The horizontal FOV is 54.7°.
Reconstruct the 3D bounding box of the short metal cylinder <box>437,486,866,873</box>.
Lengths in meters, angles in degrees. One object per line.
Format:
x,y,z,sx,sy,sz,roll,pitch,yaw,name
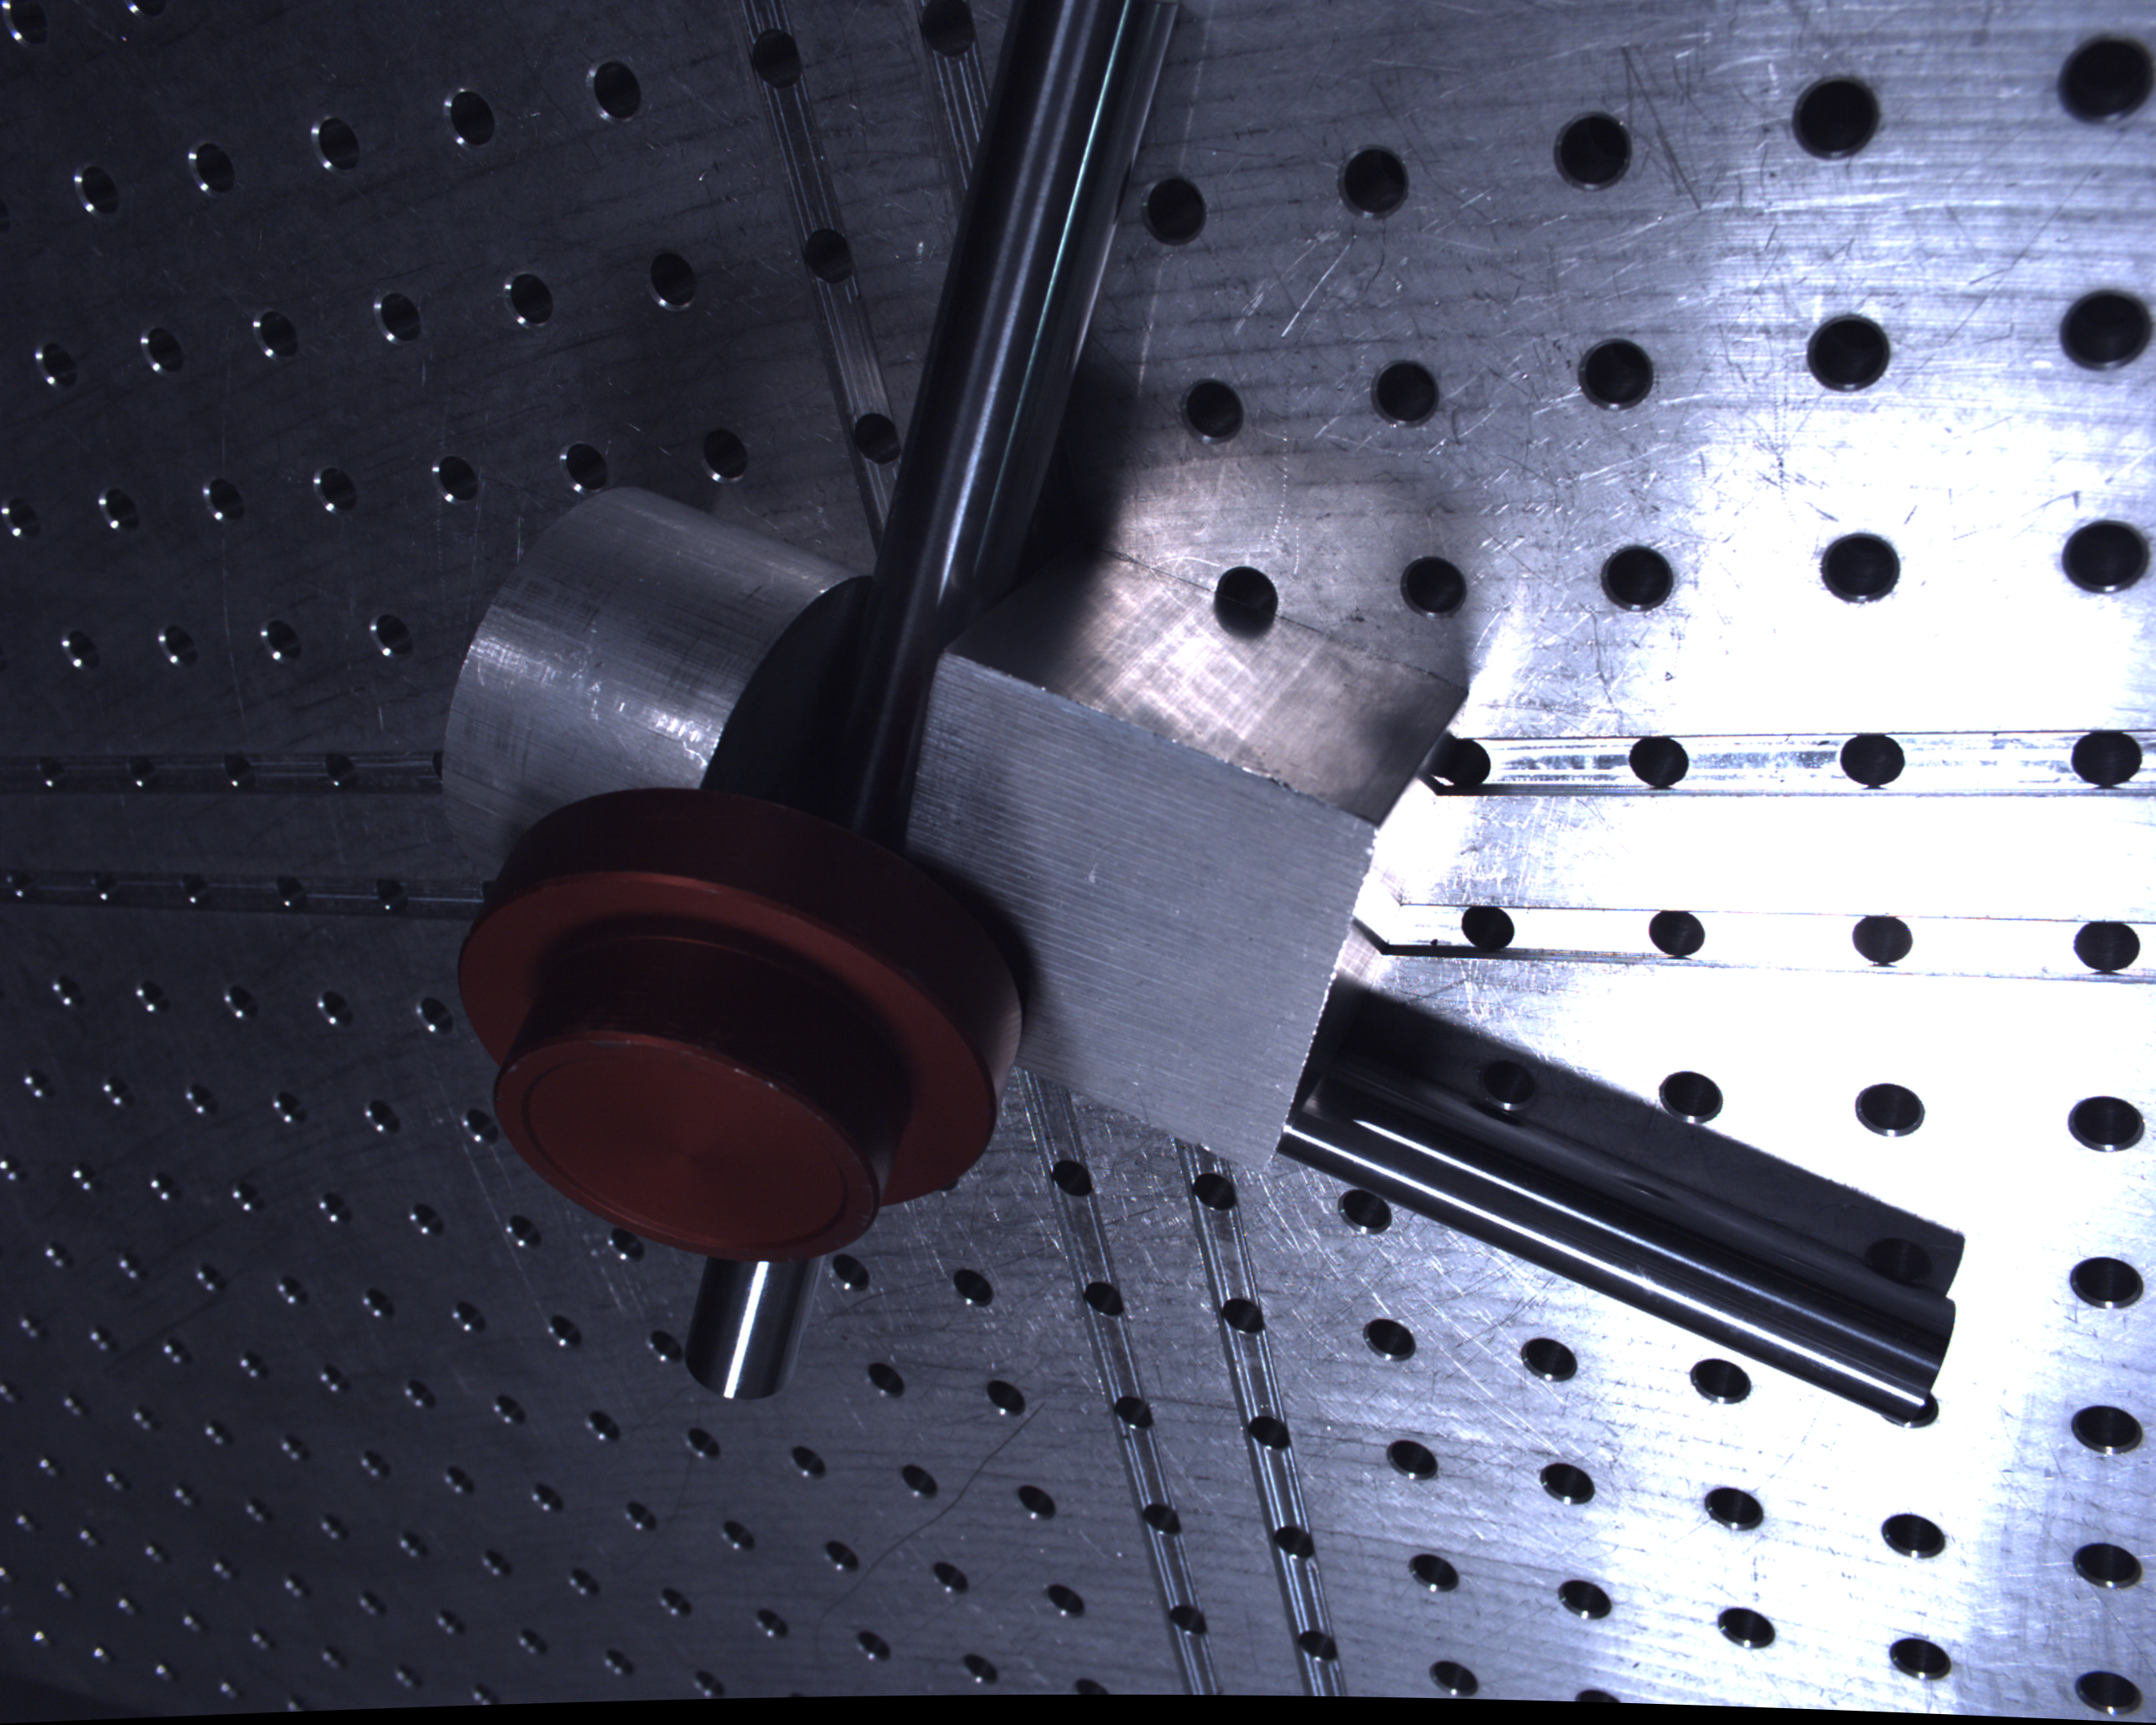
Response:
-0.075,-0.025,0.397,0.050,0.080,0.079,23,127,14,short metal cylinder

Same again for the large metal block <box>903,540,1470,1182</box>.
0.016,-0.001,0.380,0.080,0.050,0.079,23,127,13,large metal block

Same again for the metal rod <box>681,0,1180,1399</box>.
-0.036,-0.013,0.396,0.025,0.025,0.298,25,120,12,metal rod

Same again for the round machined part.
-0.063,0.035,0.369,0.098,0.042,0.097,9,140,8,round machined part

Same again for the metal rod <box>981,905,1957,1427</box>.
0.022,0.037,0.421,0.301,0.025,0.025,22,127,14,metal rod
